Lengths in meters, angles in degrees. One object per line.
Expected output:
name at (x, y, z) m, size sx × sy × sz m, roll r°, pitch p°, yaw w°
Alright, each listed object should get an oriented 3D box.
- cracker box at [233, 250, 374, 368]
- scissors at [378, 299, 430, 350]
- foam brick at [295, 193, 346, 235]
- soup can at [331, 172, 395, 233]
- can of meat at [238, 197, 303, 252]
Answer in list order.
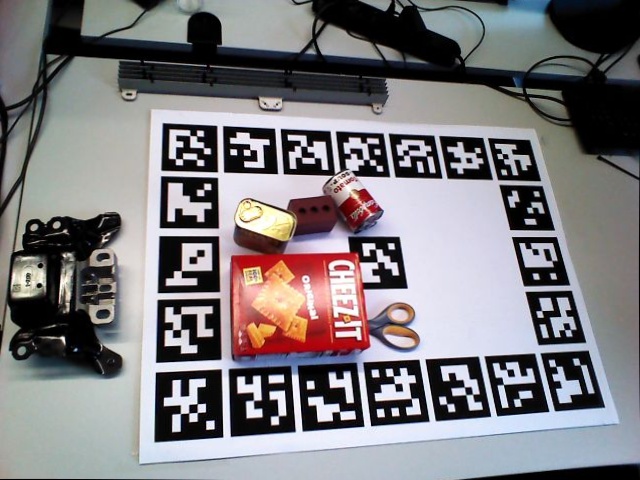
cracker box at (-0.024, 0.105, 0.830) m, size 0.213 × 0.072 × 0.163 m, roll -6°, pitch 70°, yaw -10°
scissors at (0.085, 0.150, 0.870) m, size 0.202 × 0.016 × 0.087 m, roll -4°, pitch 71°, yaw -13°
foam brick at (0.000, -0.047, 0.920) m, size 0.078 × 0.051 × 0.052 m, roll -10°, pitch 73°, yaw -16°
soup can at (0.078, -0.072, 0.946) m, size 0.067 × 0.068 × 0.102 m, roll -38°, pitch 76°, yaw -22°
can of meat at (-0.087, -0.023, 0.872) m, size 0.102 × 0.084 × 0.057 m, roll 14°, pitch 68°, yaw -7°
